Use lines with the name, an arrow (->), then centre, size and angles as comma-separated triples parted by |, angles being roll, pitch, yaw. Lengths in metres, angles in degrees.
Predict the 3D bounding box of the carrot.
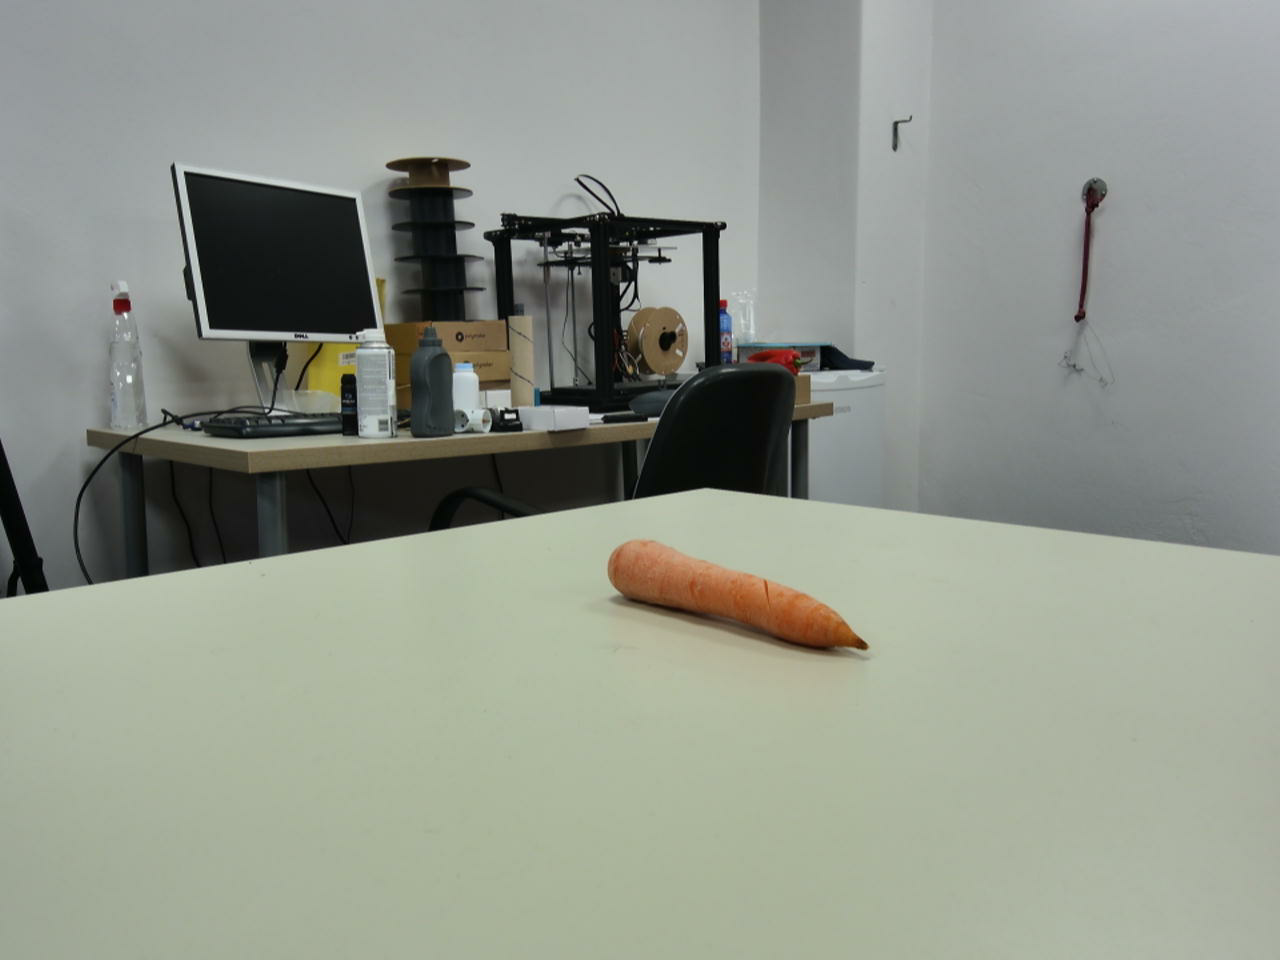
carrot -> 0.053, 0.064, 0.584 | 0.039, 0.041, 0.196 | -5, 8, -43
